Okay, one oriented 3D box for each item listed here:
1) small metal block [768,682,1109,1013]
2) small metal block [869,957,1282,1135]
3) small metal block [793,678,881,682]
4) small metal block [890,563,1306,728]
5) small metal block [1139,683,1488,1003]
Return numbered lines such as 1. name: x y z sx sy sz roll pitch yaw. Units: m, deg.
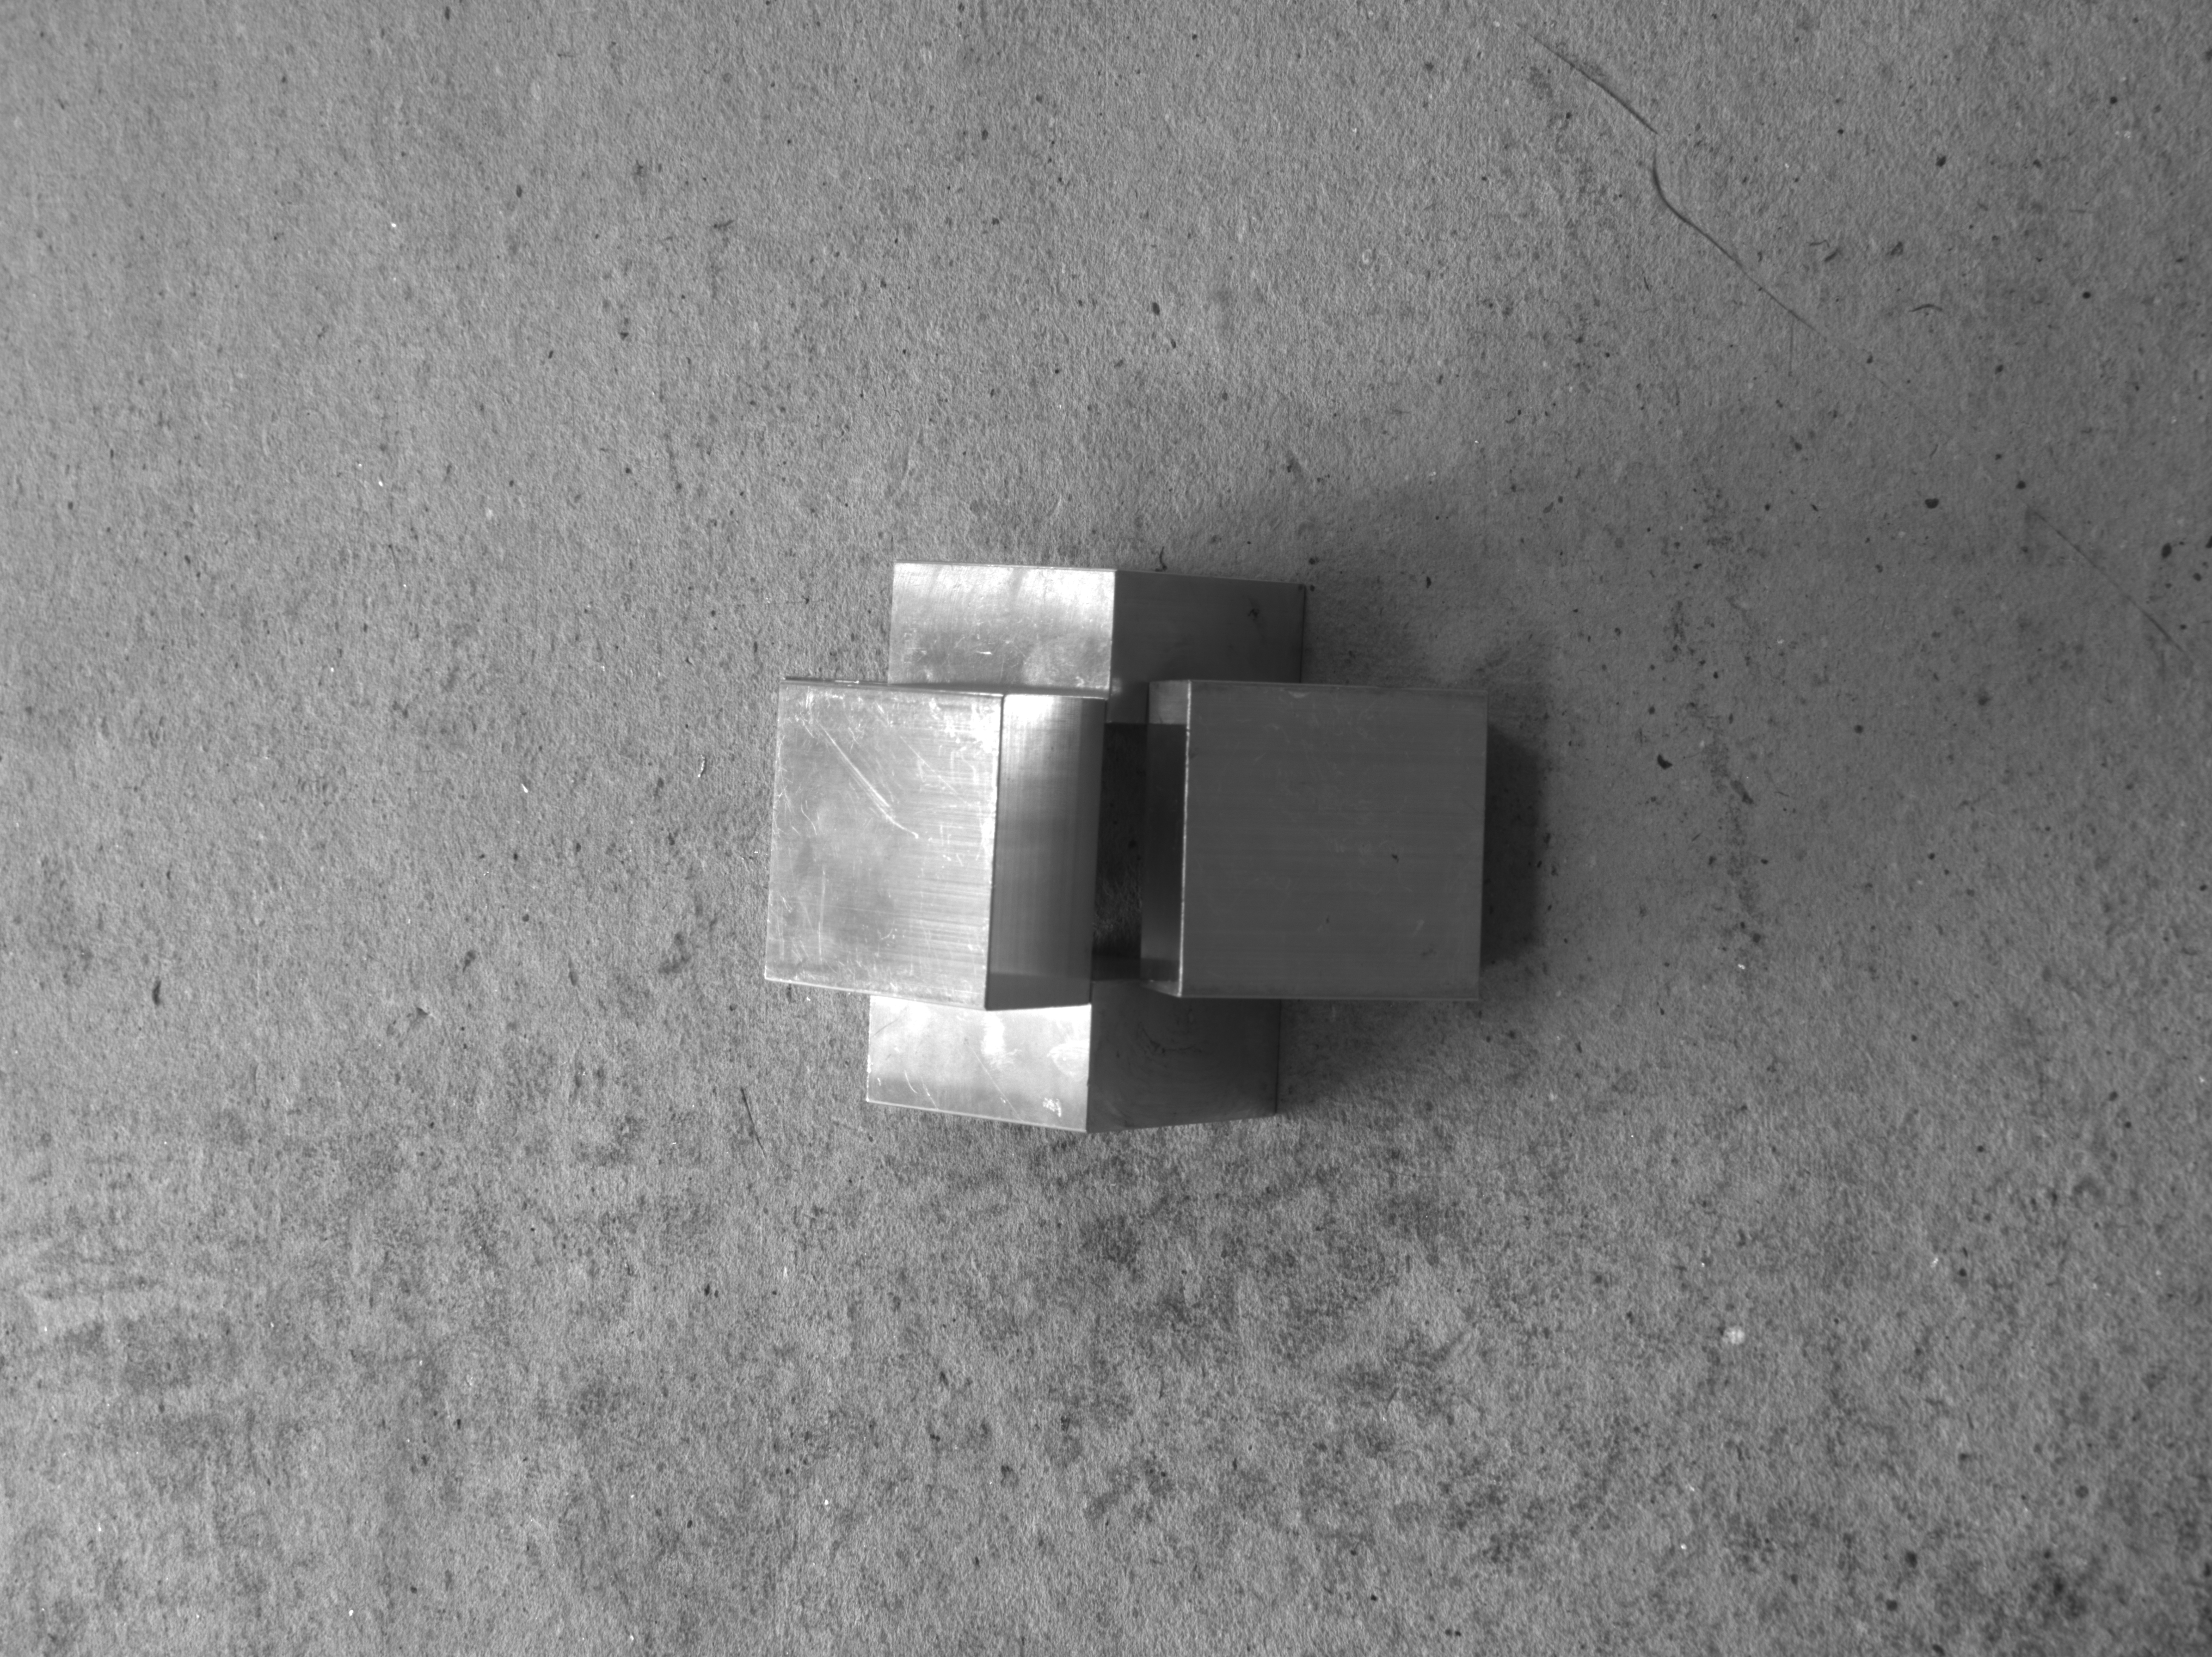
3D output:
1. small metal block: -0.028 0.002 0.604 0.050 0.025 0.050 5 93 40
2. small metal block: -0.005 0.036 0.634 0.050 0.050 0.025 4 93 40
3. small metal block: -0.042 -0.001 0.662 0.025 0.050 0.050 3 93 5
4. small metal block: -0.001 -0.031 0.631 0.050 0.050 0.025 6 94 40
5. small metal block: 0.033 0.002 0.598 0.025 0.050 0.050 -173 84 -75
